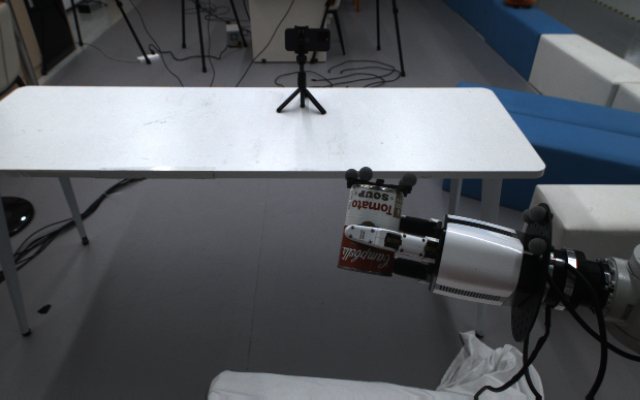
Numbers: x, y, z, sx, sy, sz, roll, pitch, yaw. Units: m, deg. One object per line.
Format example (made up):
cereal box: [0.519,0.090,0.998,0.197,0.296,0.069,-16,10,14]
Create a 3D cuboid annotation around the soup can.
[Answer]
soup can: [0.064,0.036,0.589,0.067,0.101,0.067,9,-5,1]
